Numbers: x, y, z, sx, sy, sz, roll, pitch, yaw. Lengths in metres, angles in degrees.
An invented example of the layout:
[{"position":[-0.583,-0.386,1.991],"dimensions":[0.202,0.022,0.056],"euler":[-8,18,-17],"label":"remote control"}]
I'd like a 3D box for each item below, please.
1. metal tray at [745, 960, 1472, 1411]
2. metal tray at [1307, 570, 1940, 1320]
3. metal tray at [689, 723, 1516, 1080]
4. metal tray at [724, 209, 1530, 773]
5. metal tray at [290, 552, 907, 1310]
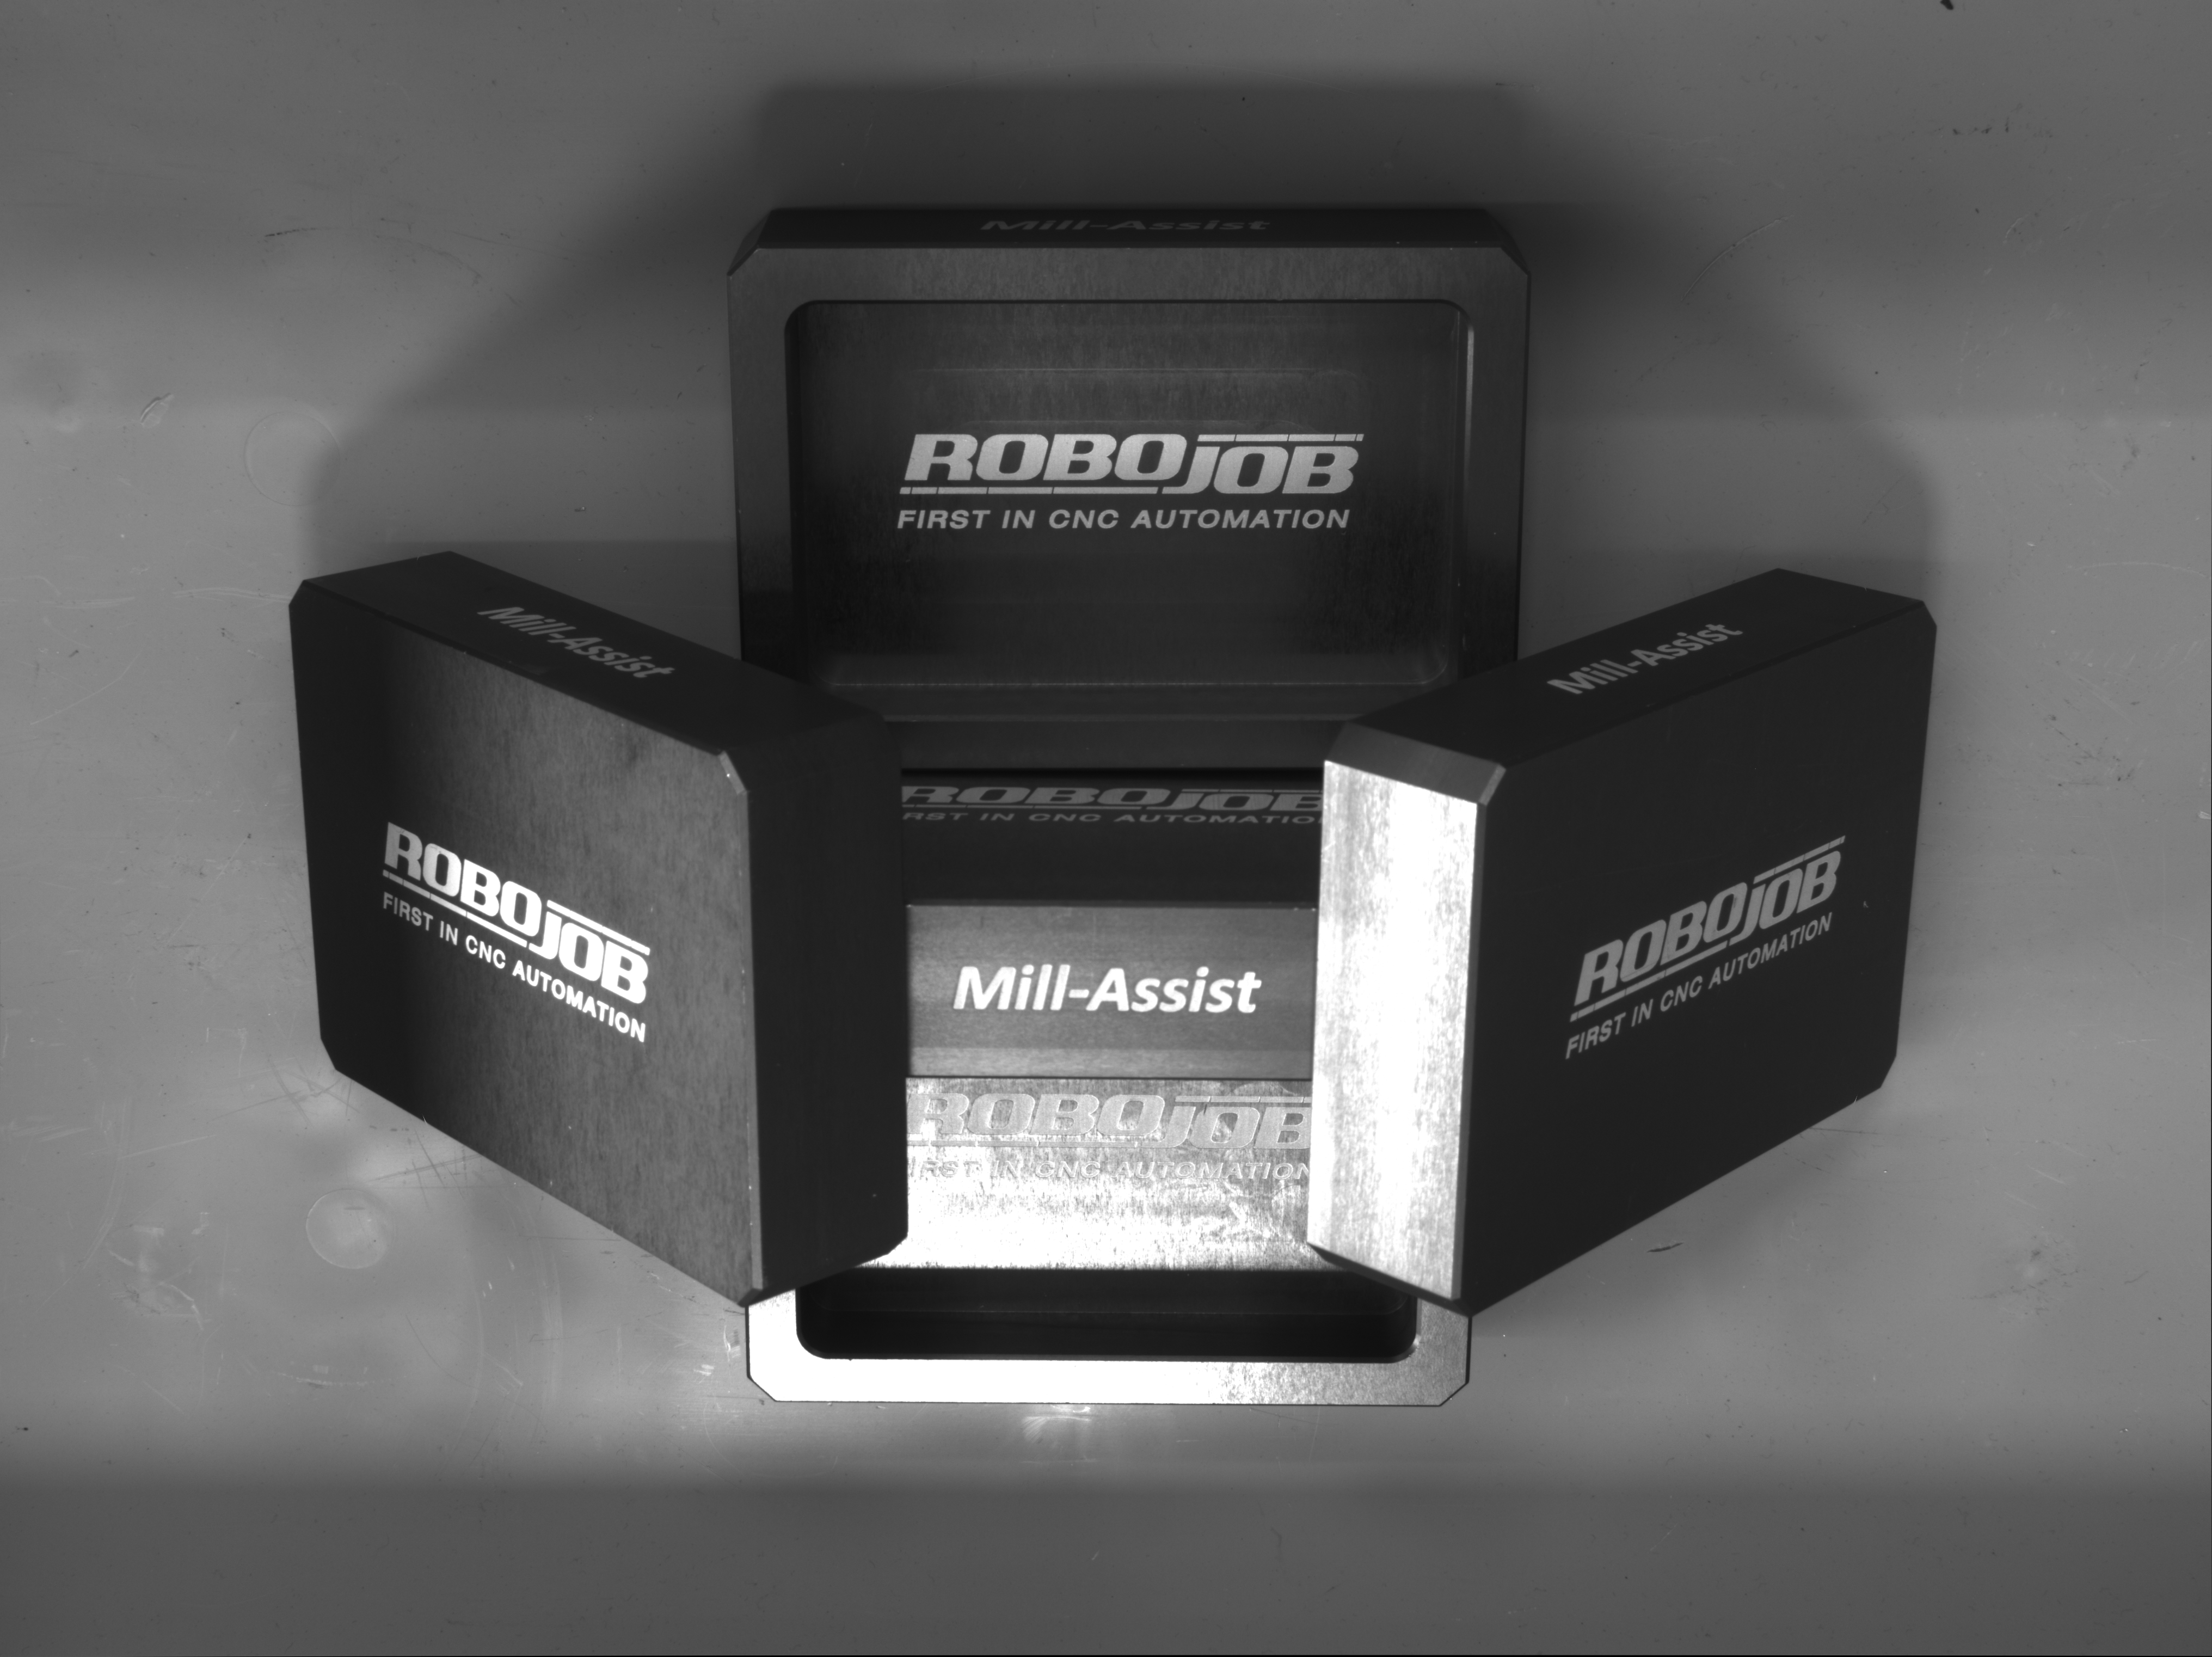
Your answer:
[{"position":[0.001,0.058,0.659],"dimensions":[0.130,0.030,0.090],"euler":[0,110,-1],"label":"metal tray"},{"position":[0.086,0.015,0.599],"dimensions":[0.030,0.130,0.090],"euler":[18,116,39],"label":"metal tray"},{"position":[-0.001,0.010,0.611],"dimensions":[0.130,0.090,0.030],"euler":[0,110,-1],"label":"metal tray"},{"position":[0.004,-0.057,0.619],"dimensions":[0.130,0.030,0.090],"euler":[-1,110,-1],"label":"metal tray"},{"position":[-0.085,0.013,0.598],"dimensions":[0.030,0.129,0.090],"euler":[-16,116,-39],"label":"metal tray"}]
